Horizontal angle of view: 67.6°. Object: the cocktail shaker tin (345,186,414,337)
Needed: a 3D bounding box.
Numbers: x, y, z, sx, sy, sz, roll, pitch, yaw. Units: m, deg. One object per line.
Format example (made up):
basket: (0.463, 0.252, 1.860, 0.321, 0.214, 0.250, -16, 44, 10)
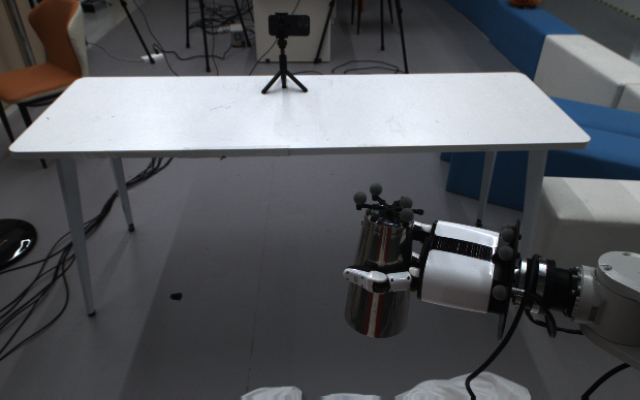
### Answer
cocktail shaker tin: (0.088, 0.094, 0.675, 0.093, 0.170, 0.093, 3, 26, -1)
